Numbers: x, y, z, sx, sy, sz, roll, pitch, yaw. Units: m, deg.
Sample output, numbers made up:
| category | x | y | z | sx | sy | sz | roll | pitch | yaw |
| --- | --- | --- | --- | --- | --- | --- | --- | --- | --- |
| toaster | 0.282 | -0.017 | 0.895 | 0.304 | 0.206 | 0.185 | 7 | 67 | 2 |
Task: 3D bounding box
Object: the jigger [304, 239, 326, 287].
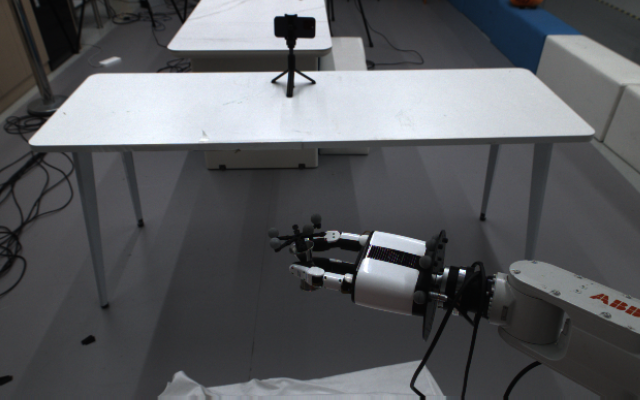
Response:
| category | x | y | z | sx | sy | sz | roll | pitch | yaw |
| --- | --- | --- | --- | --- | --- | --- | --- | --- | --- |
| jigger | -0.018 | 0.101 | 0.748 | 0.043 | 0.071 | 0.043 | -14 | 21 | 6 |
